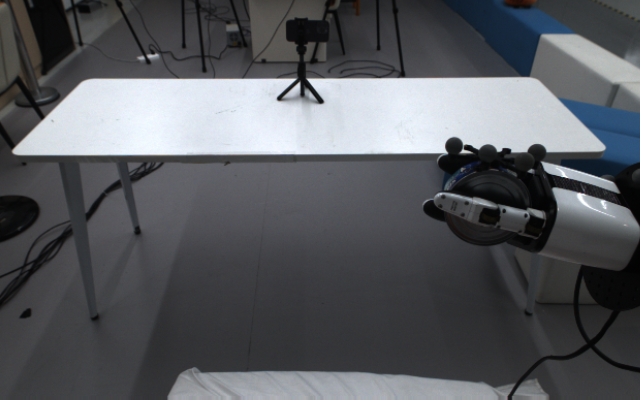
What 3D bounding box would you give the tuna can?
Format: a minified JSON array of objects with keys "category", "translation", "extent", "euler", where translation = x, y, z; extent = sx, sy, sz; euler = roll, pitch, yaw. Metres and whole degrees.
[{"category":"tuna can","translation":[0.175,0.001,0.509],"extent":[0.085,0.085,0.034],"euler":[7,22,7]}]
